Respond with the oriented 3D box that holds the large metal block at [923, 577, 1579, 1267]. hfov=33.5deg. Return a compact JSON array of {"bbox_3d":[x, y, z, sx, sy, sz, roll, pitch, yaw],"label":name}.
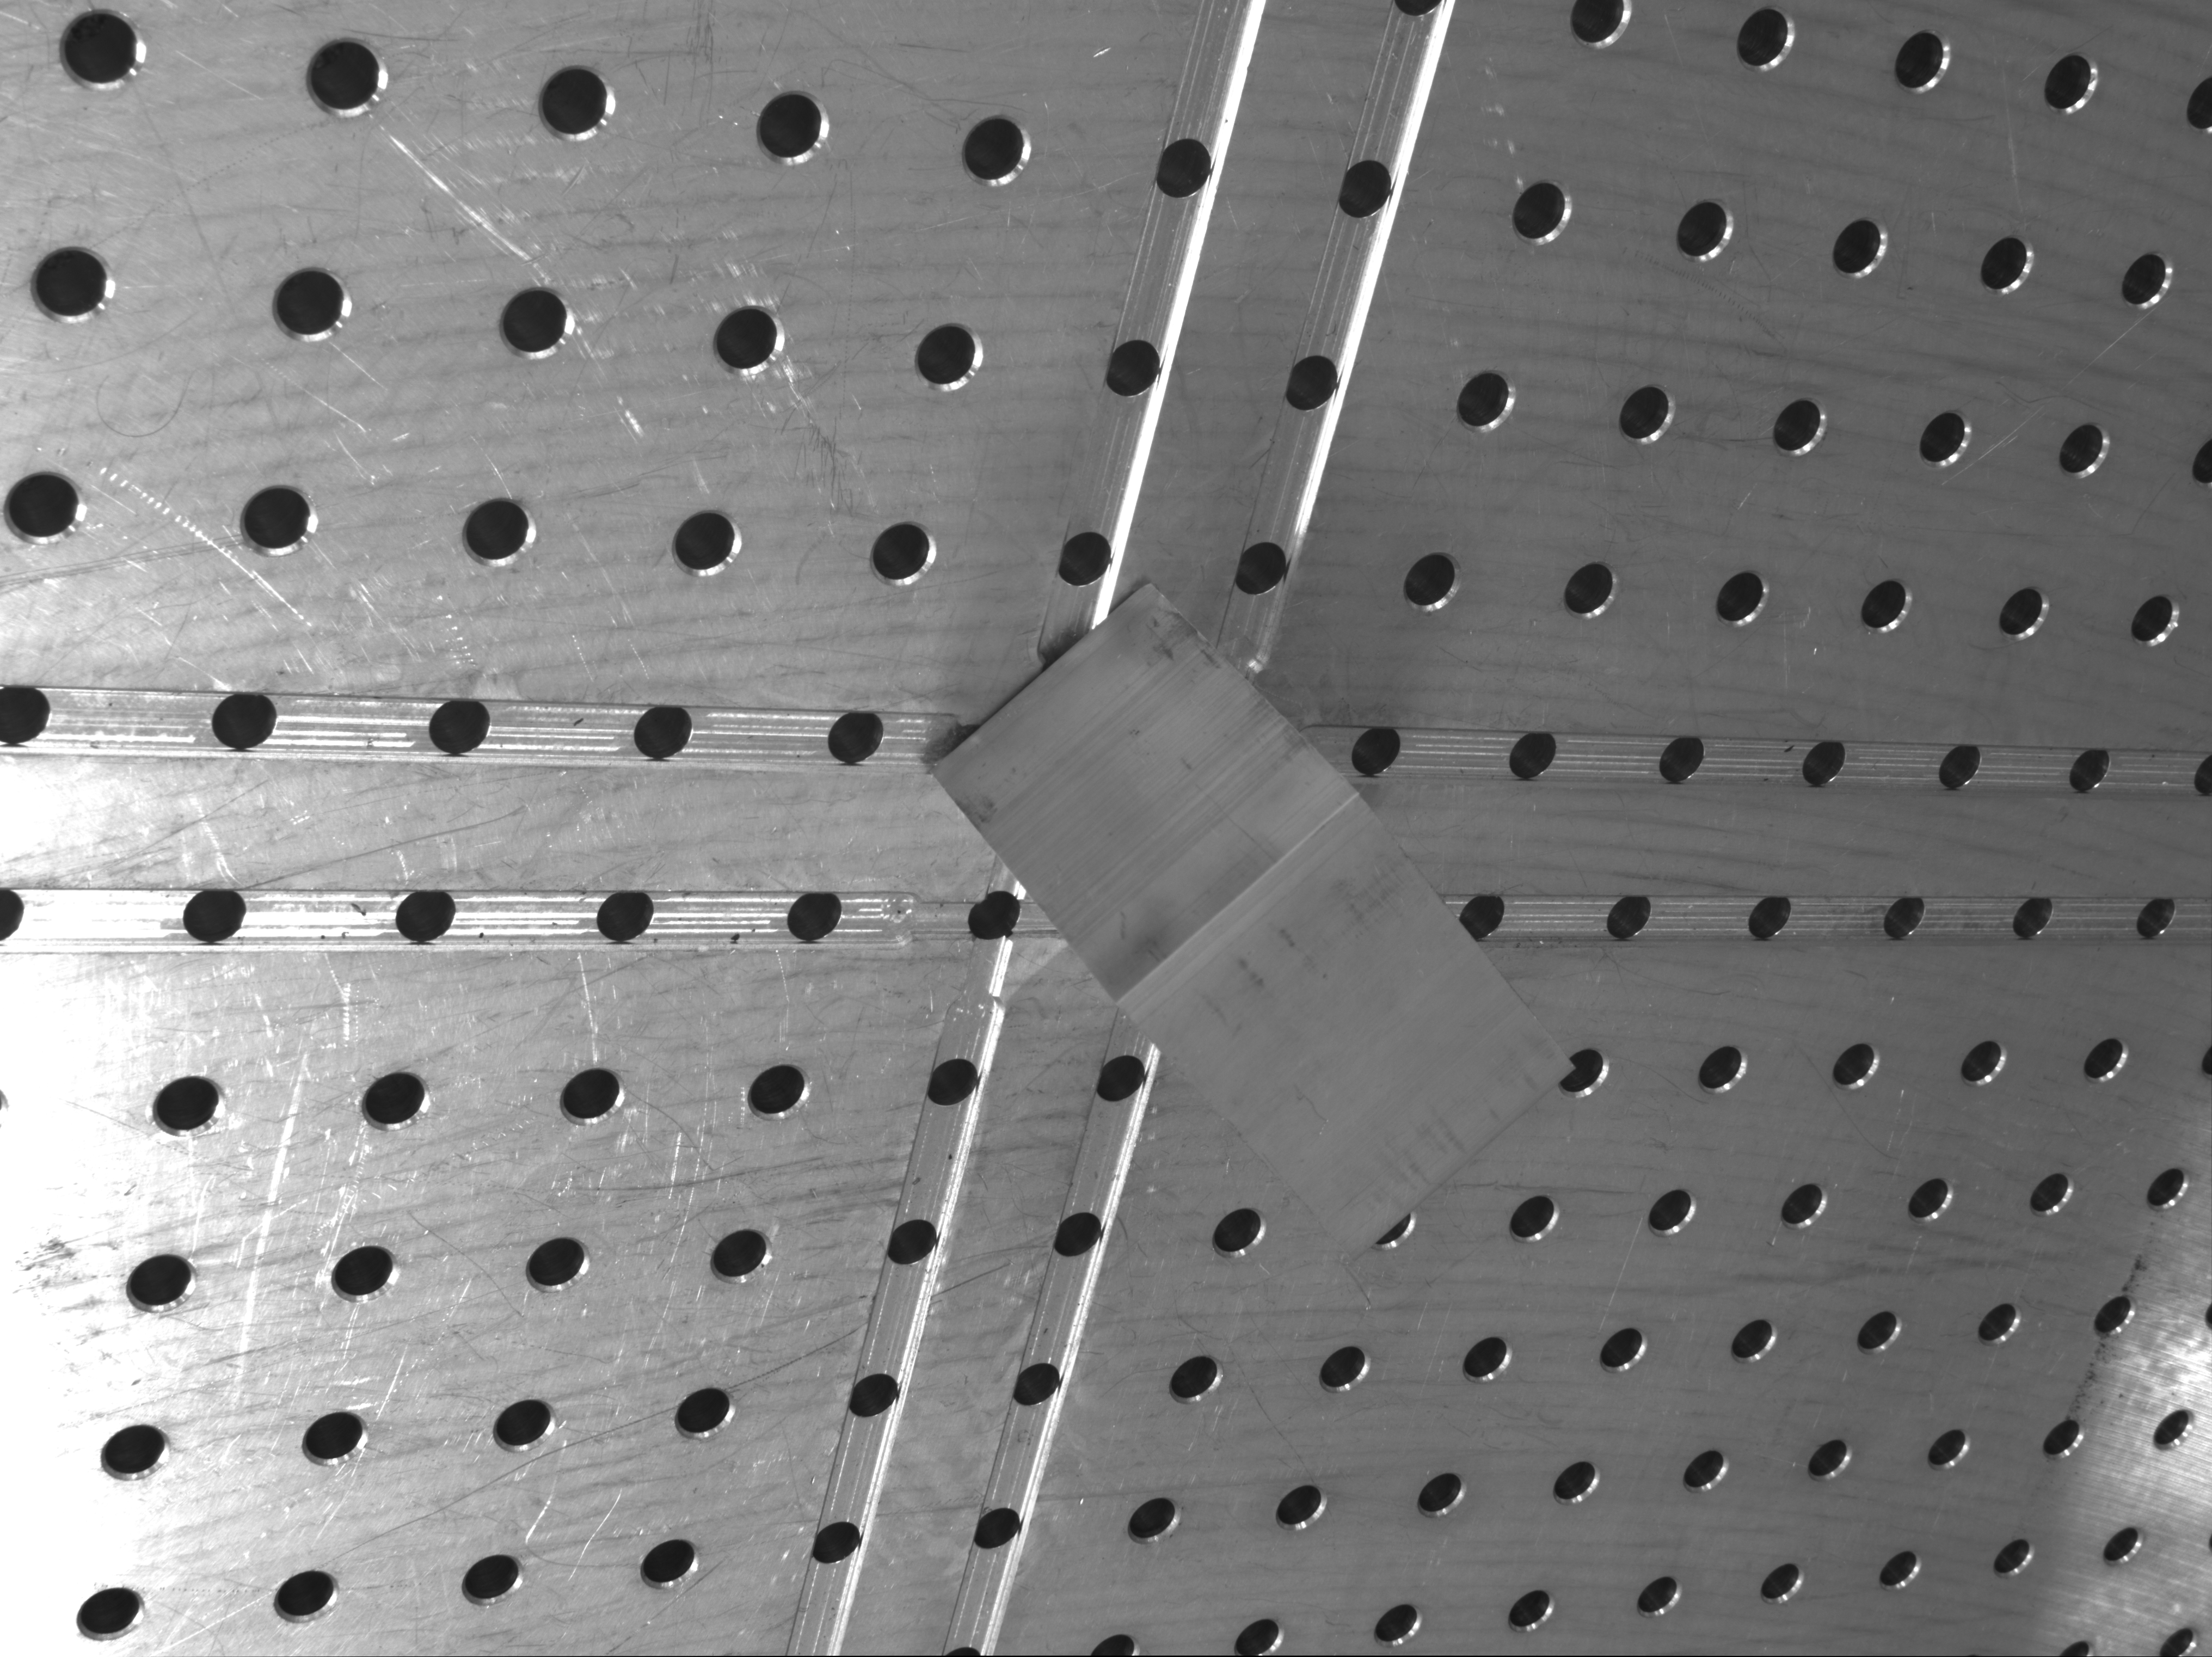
[{"bbox_3d":[0.024,0.015,0.627,0.050,0.080,0.080,-41,129,0],"label":"large metal block"}]
